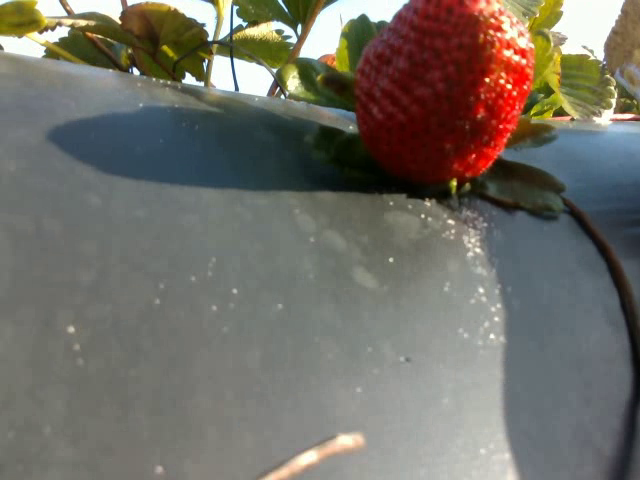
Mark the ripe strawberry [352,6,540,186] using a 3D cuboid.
[{"bbox_3d":[0.009,-0.012,0.043,0.016,0.015,0.023,11,-13,-4],"label":"ripe strawberry"}]
